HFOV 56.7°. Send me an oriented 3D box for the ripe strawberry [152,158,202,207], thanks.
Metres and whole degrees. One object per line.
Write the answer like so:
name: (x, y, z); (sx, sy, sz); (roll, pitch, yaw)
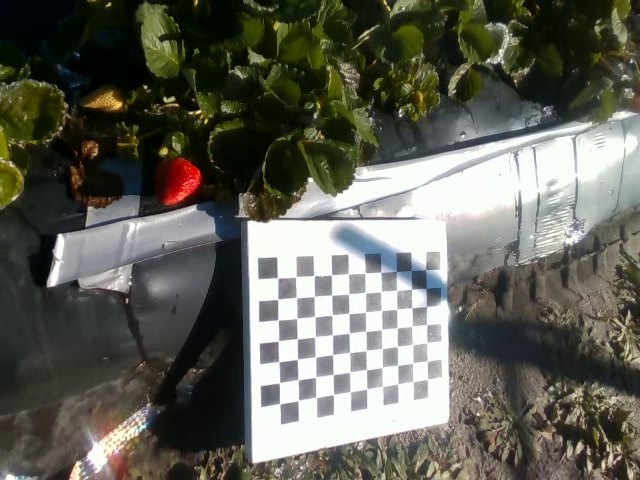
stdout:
ripe strawberry: (-0.157, -0.058, 0.653); (0.061, 0.065, 0.057); (35, -61, -27)
